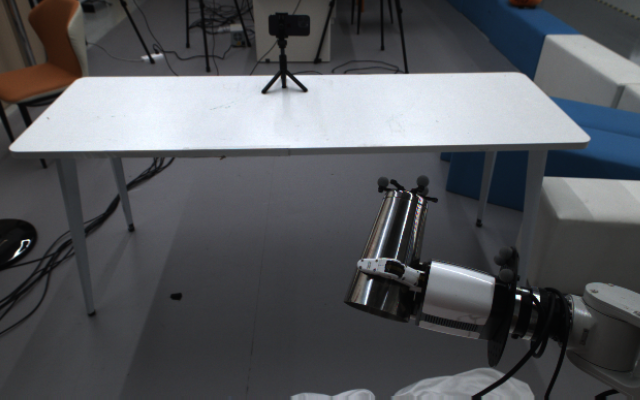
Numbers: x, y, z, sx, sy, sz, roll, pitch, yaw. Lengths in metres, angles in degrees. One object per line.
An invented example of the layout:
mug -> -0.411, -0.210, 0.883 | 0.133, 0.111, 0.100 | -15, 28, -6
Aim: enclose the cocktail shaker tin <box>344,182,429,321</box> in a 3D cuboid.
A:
cocktail shaker tin -> 0.100, 0.077, 0.685 | 0.093, 0.093, 0.170 | 14, 73, 16
